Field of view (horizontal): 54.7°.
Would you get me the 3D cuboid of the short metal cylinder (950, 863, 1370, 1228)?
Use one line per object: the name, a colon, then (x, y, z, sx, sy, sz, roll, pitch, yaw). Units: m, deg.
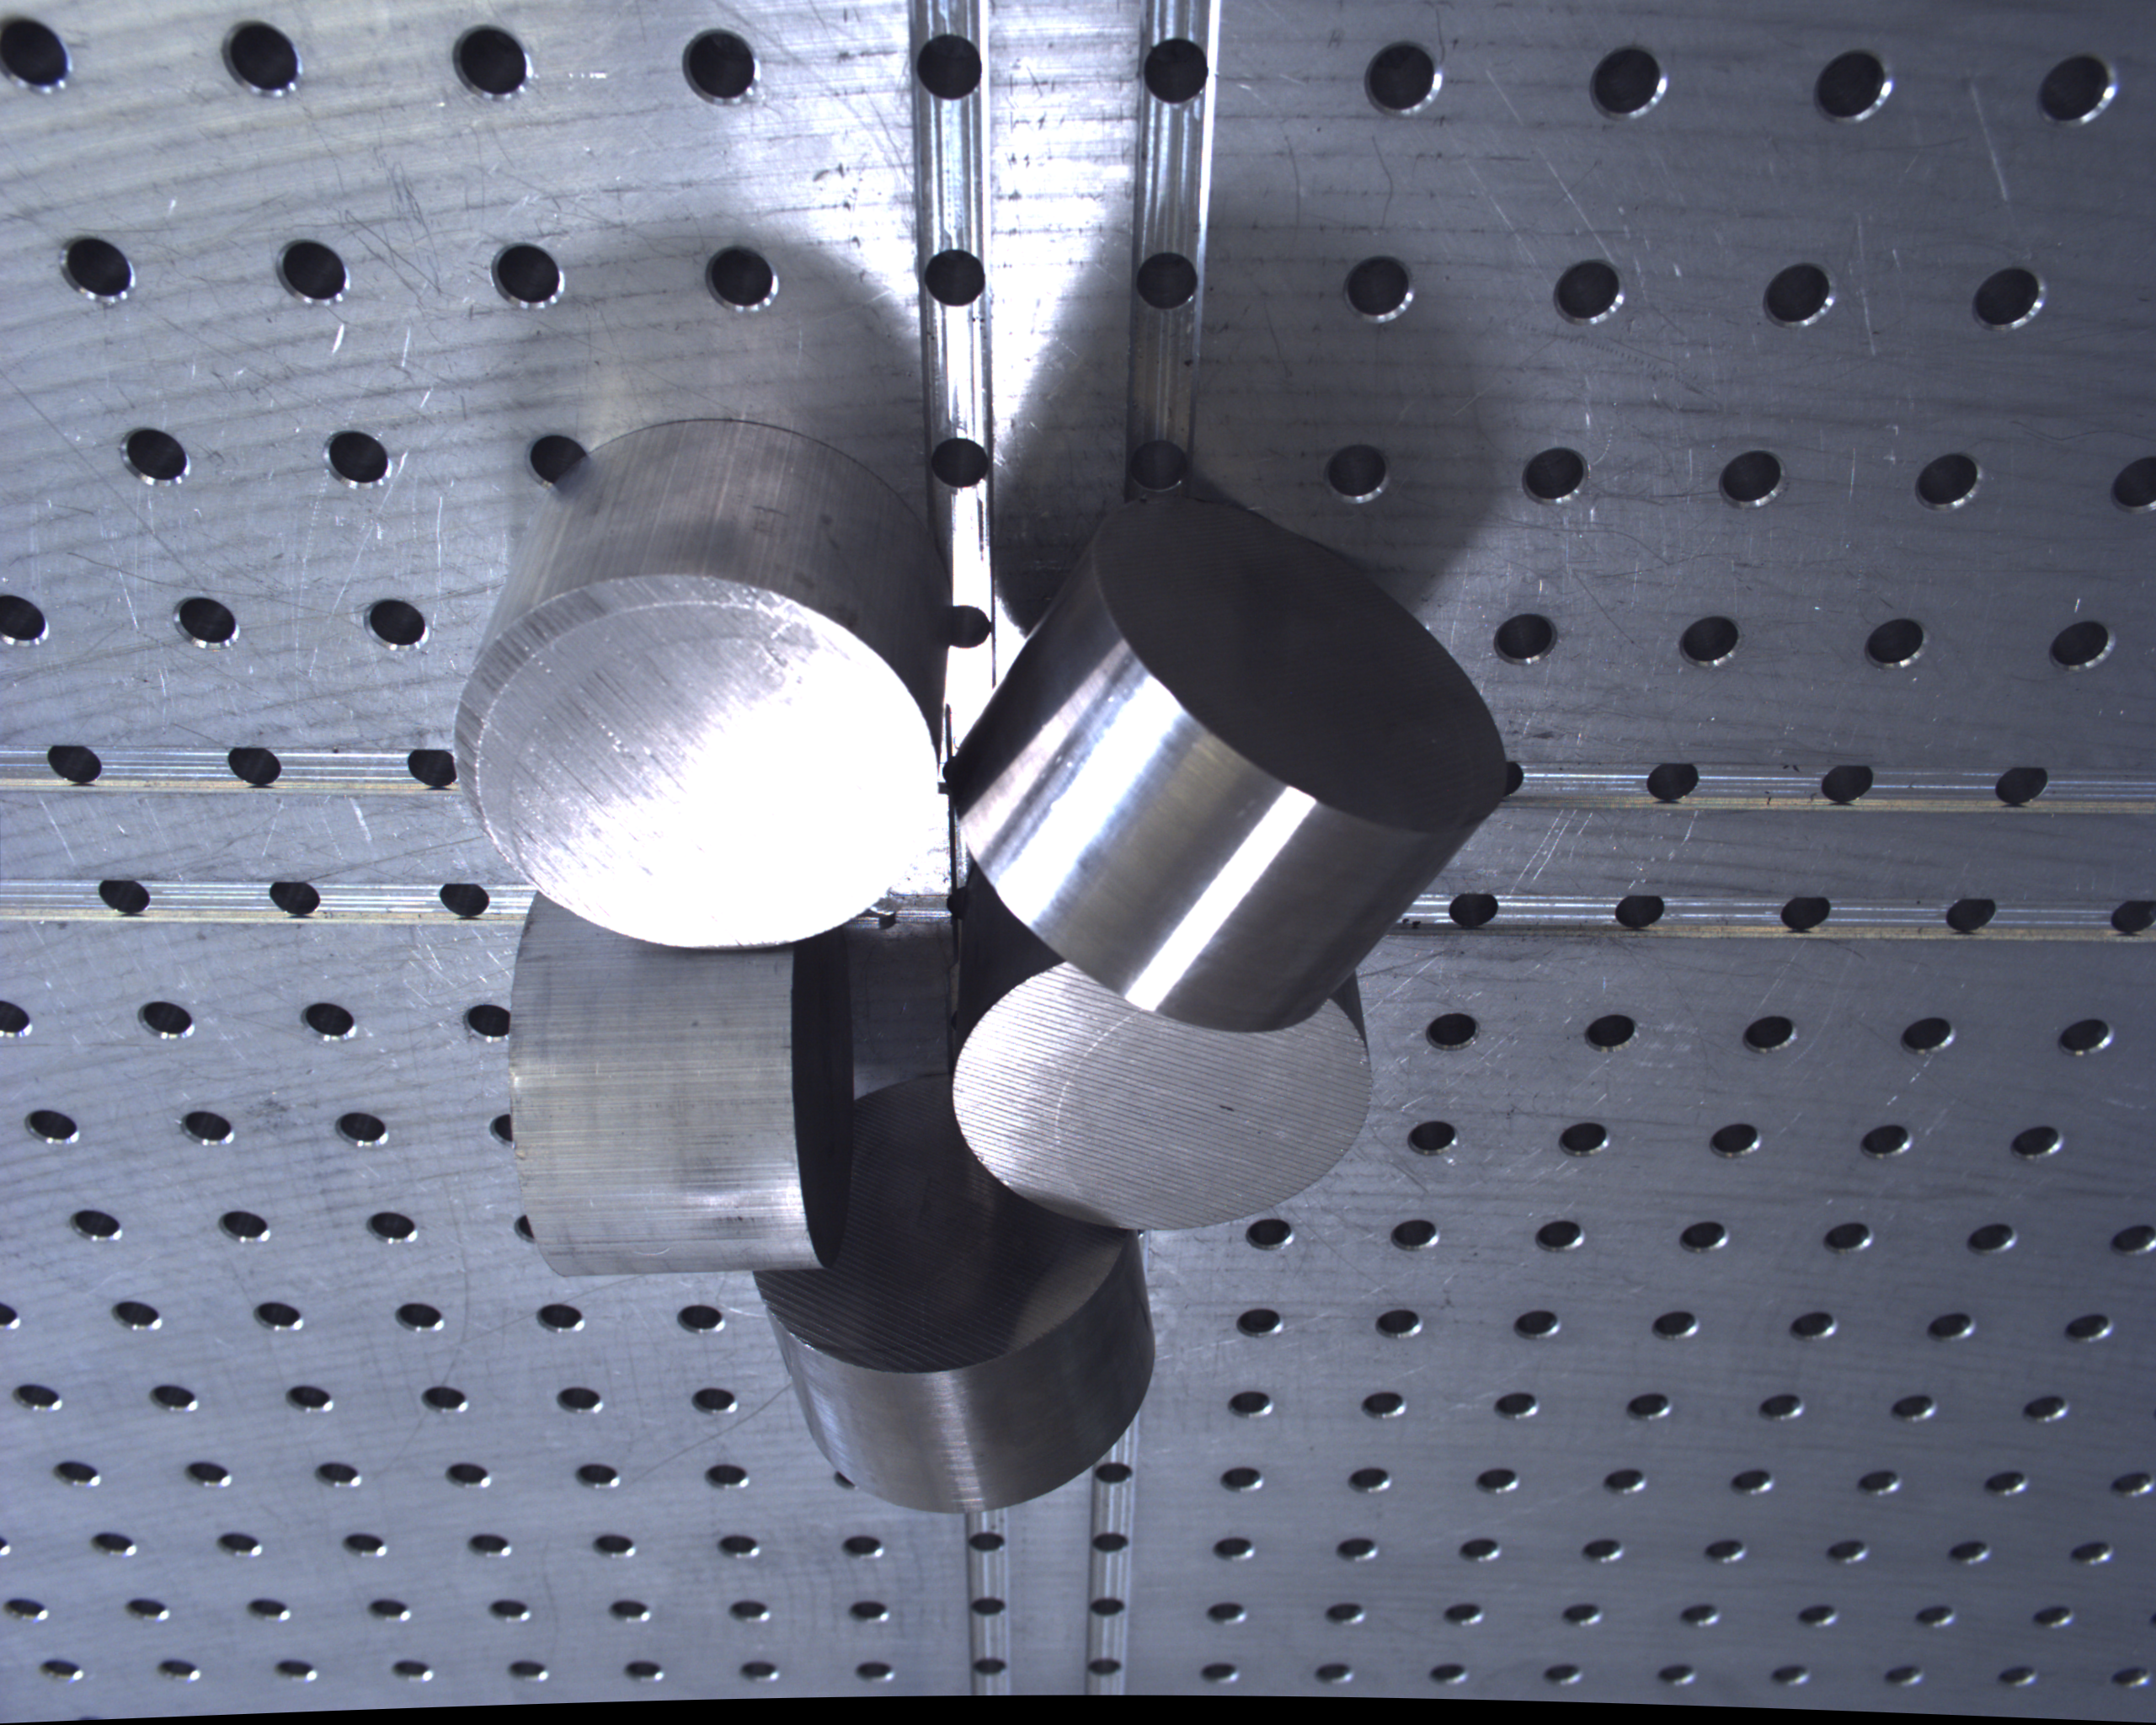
short metal cylinder: (0.016, 0.029, 0.420, 0.081, 0.050, 0.079, -1, 131, 0)

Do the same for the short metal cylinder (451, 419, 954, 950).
short metal cylinder: (-0.064, -0.031, 0.368, 0.080, 0.050, 0.079, 0, 131, 1)

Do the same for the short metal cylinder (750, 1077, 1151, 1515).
short metal cylinder: (-0.026, 0.093, 0.453, 0.080, 0.080, 0.050, -5, 130, 4)

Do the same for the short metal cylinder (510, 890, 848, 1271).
short metal cylinder: (-0.075, 0.039, 0.409, 0.050, 0.080, 0.079, -2, 130, 1)

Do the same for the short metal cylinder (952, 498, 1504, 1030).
short metal cylinder: (0.025, -0.018, 0.361, 0.080, 0.080, 0.050, 22, 126, -18)
